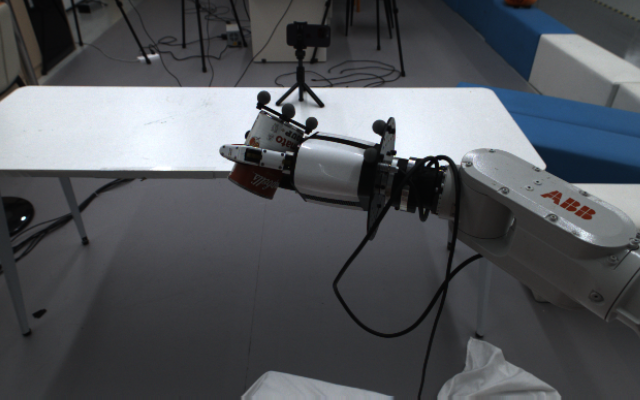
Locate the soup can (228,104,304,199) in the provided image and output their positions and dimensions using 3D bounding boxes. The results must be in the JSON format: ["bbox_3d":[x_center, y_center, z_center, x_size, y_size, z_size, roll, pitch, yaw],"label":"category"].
[{"bbox_3d":[-0.072,-0.060,0.650,0.067,0.101,0.067,26,6,-3],"label":"soup can"}]
